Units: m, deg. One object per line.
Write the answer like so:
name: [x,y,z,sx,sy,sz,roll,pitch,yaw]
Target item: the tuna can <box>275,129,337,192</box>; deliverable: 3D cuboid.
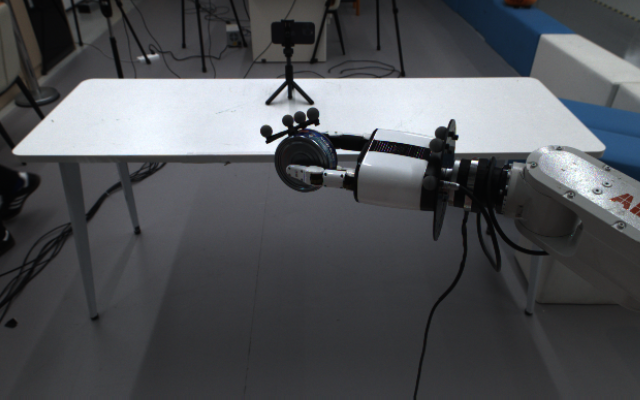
tuna can: [-0.017,-0.050,0.681,0.085,0.085,0.034,15,29,17]
